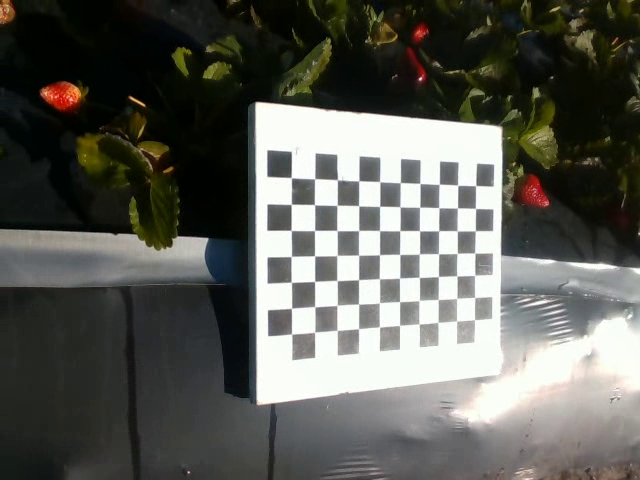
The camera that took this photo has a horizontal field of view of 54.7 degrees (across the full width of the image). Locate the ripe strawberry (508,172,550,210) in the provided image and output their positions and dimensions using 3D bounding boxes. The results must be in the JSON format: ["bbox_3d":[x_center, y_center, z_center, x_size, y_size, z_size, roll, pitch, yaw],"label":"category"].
[{"bbox_3d":[0.268,-0.058,0.769,0.055,0.048,0.029,47,-17,-18],"label":"ripe strawberry"}]
